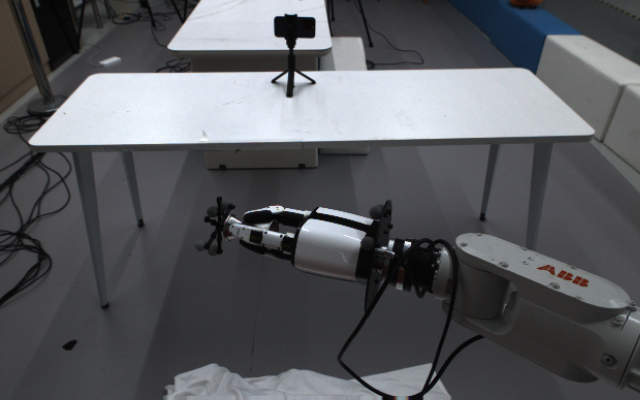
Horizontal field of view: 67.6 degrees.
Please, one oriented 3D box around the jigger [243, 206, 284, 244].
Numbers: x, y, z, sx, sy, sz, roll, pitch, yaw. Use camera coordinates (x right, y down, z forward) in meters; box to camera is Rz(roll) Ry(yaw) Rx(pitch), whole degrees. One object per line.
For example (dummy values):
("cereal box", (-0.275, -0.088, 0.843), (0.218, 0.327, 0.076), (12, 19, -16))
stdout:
("jigger", (-0.092, 0.041, 0.691), (0.071, 0.043, 0.043), (8, 35, 16))
